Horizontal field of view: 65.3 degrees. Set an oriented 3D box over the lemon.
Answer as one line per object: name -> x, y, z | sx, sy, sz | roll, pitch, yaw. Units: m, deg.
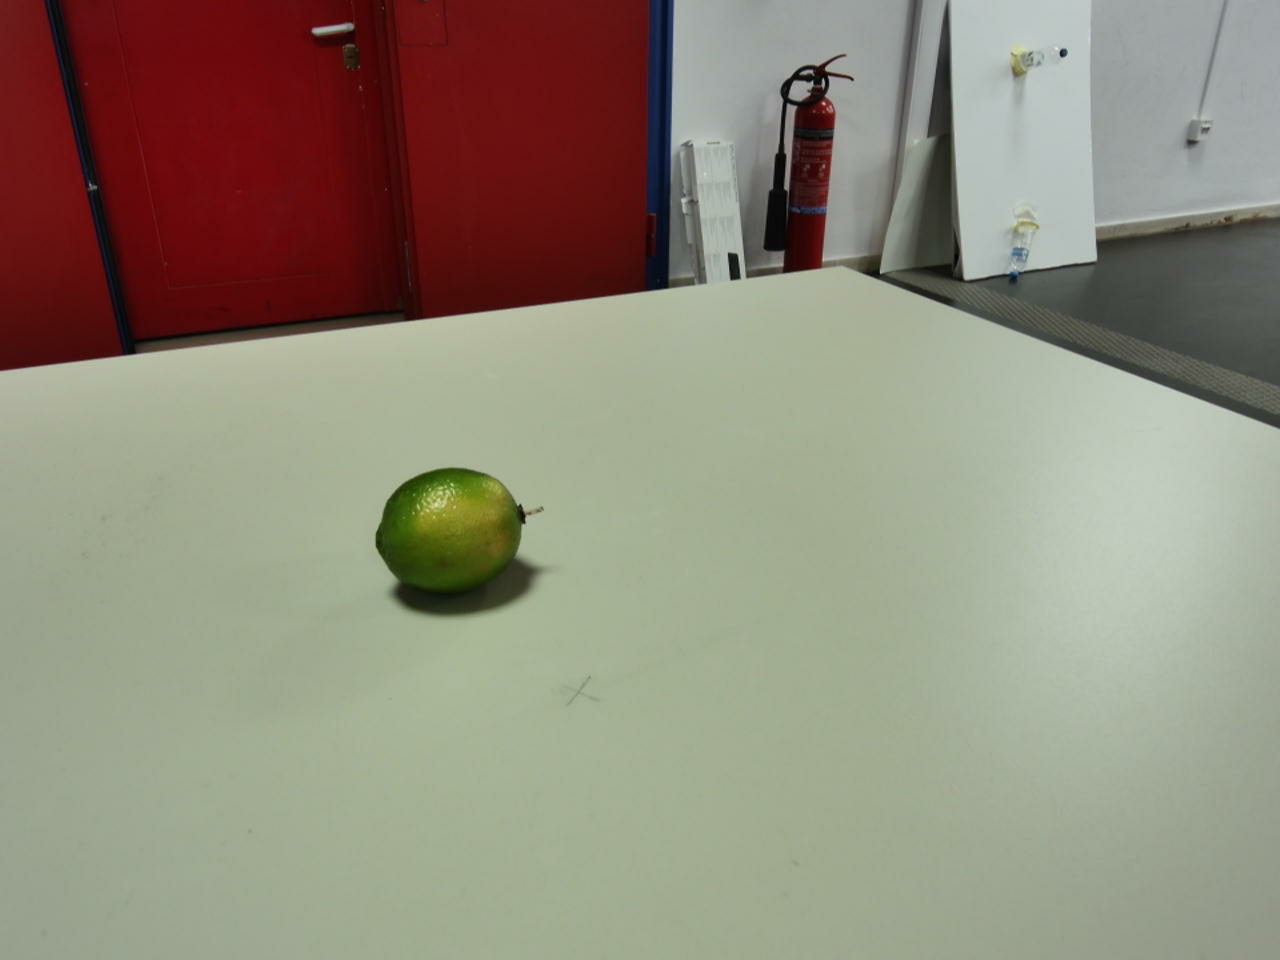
lemon -> -0.077, 0.020, 0.409 | 0.055, 0.050, 0.054 | 10, 26, 21
